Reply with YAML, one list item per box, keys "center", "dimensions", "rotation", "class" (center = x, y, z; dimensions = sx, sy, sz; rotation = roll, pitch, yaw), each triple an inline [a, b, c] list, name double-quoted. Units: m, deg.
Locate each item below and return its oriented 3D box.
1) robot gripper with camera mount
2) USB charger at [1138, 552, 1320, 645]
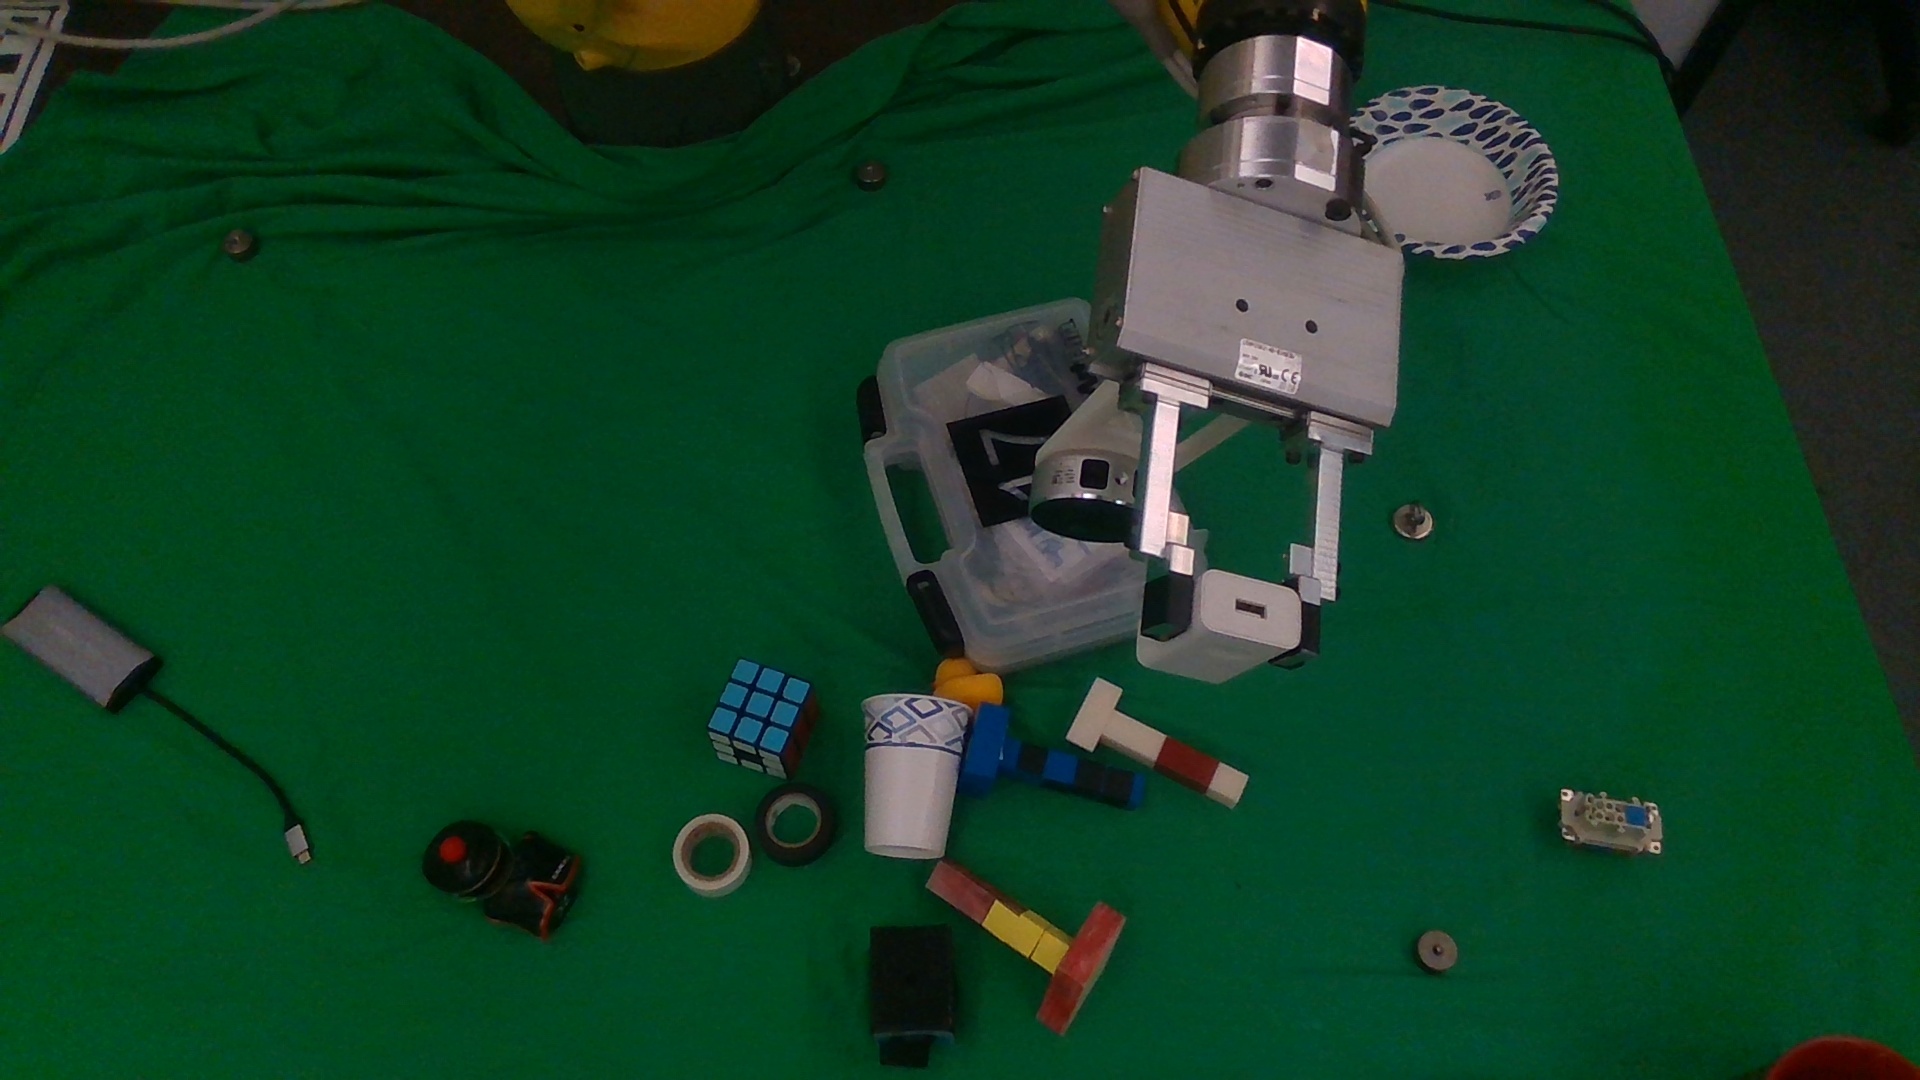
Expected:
- center: [0.087, -0.031, 0.617]
  dimensions: [0.119, 0.194, 0.158]
  rotation: [11, 72, -18]
  class: "robot gripper with camera mount"
- center: [0.100, 0.025, 0.542]
  dimensions: [0.044, 0.076, 0.029]
  rotation: [10, 76, -32]
  class: "USB charger"
